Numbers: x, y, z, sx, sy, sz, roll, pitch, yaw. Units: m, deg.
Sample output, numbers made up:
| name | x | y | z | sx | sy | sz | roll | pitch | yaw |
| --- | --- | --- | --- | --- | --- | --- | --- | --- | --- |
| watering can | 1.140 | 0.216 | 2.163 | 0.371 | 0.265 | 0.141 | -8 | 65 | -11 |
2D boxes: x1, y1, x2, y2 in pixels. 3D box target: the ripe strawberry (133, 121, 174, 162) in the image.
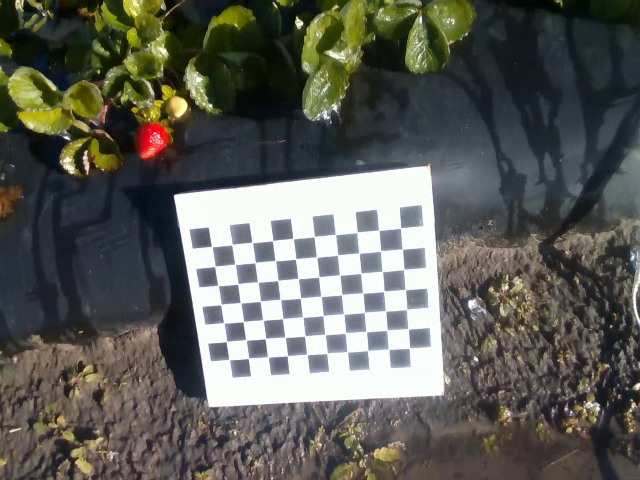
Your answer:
| name | x | y | z | sx | sy | sz | roll | pitch | yaw |
| --- | --- | --- | --- | --- | --- | --- | --- | --- | --- |
| ripe strawberry | -0.149 | -0.090 | 0.672 | 0.039 | 0.040 | 0.039 | -13 | 35 | 23 |
